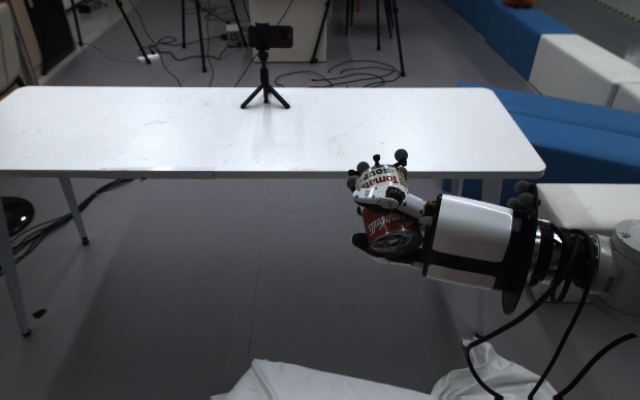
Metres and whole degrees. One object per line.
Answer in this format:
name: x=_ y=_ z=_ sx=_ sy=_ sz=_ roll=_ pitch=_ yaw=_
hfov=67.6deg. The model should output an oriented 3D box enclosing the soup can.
soup can: x=0.088 y=0.013 z=0.623 sx=0.067 sy=0.067 sz=0.101 roll=-5 pitch=57 yaw=-10
